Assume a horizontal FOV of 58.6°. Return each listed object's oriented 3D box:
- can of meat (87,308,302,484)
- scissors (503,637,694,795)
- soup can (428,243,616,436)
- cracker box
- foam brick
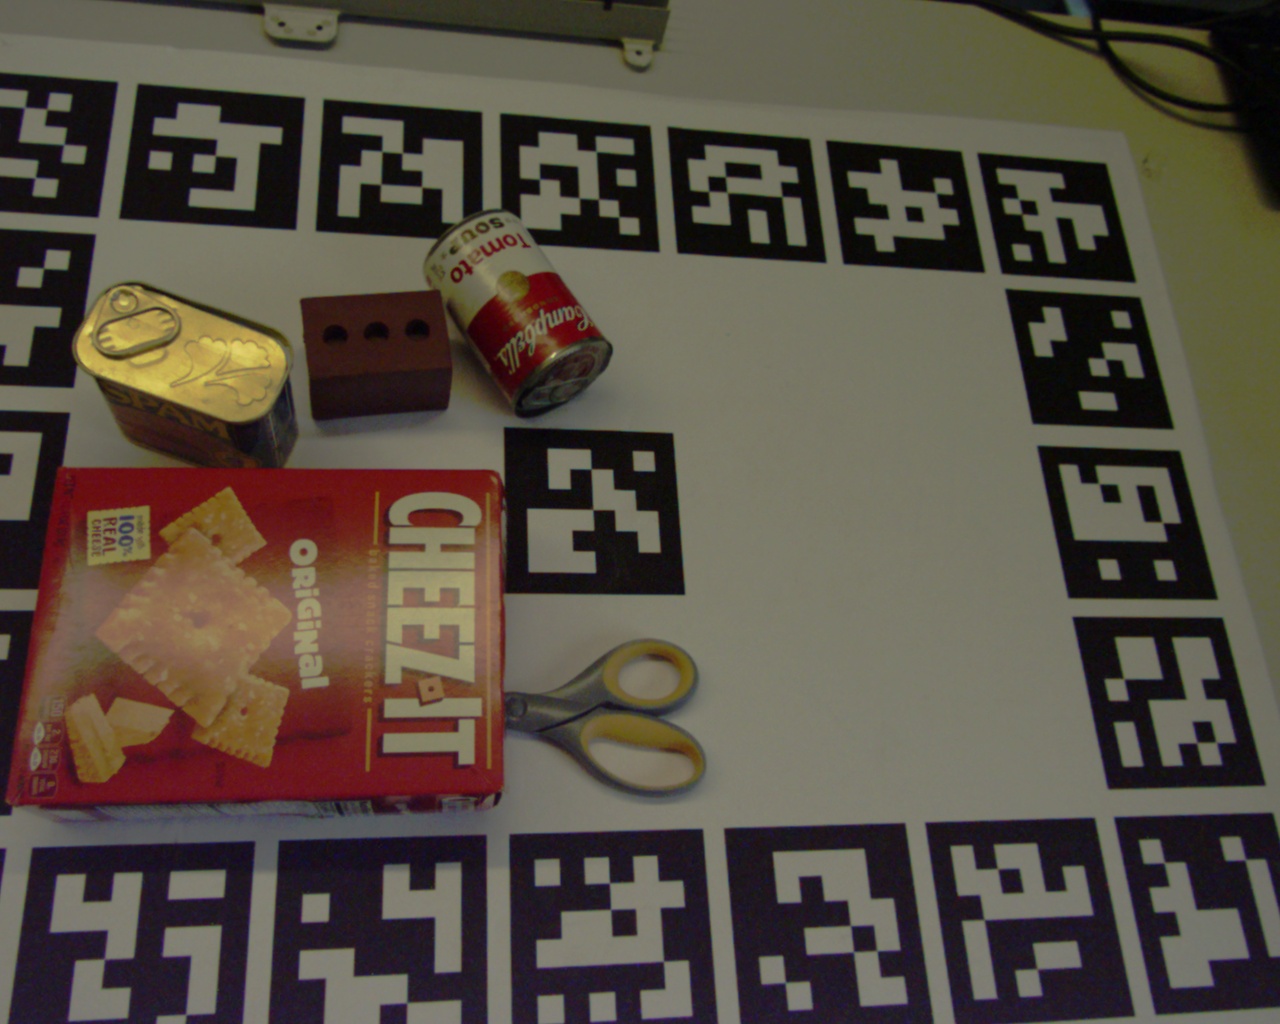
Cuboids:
[{"bbox_3d":[-0.240,-0.060,0.630,0.101,0.084,0.058,15,69,-6],"label":"can of meat"},{"bbox_3d":[-0.072,0.117,0.622,0.201,0.016,0.088,-4,71,-12],"label":"scissors"},{"bbox_3d":[-0.073,-0.106,0.698,0.067,0.068,0.102,-36,75,-21],"label":"soup can"},{"bbox_3d":[-0.181,0.071,0.585,0.213,0.072,0.165,-5,70,-8],"label":"cracker box"},{"bbox_3d":[-0.152,-0.082,0.676,0.077,0.051,0.053,-9,73,-14],"label":"foam brick"}]
